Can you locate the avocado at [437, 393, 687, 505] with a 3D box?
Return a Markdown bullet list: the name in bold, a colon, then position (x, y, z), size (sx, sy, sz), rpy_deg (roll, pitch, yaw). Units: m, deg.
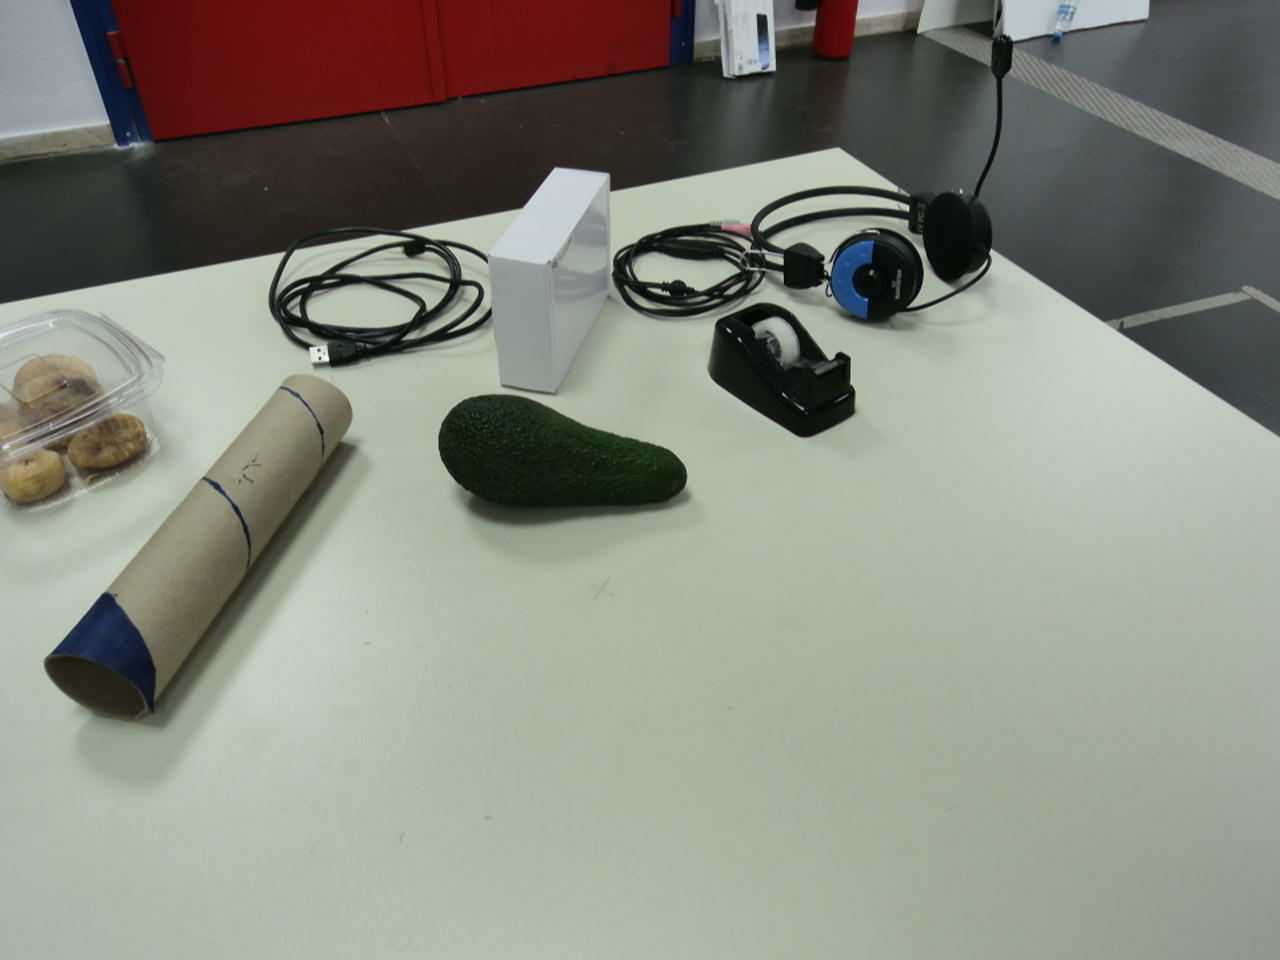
- **avocado**: position (-0.044, -0.021, 0.573), size (0.141, 0.067, 0.063), rpy_deg (-5, 39, -8)
